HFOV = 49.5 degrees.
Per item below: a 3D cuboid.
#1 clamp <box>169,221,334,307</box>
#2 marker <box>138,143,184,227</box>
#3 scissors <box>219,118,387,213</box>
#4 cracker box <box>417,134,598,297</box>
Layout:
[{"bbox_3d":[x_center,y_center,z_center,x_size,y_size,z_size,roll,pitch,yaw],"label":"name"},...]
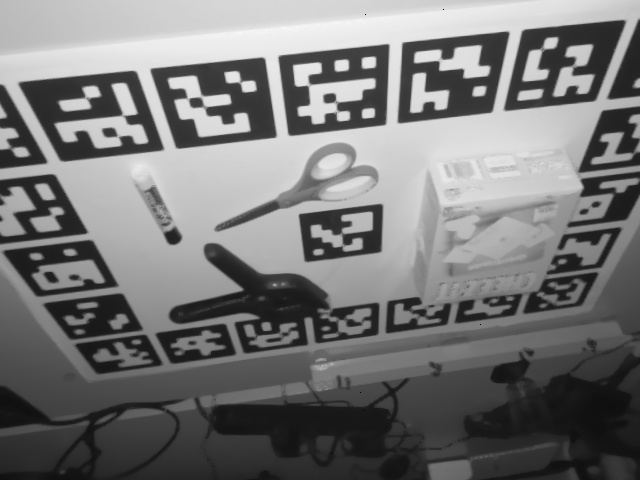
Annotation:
[{"bbox_3d":[-0.071,0.050,0.896,0.205,0.037,0.162,15,137,-27],"label":"clamp"},{"bbox_3d":[-0.167,-0.054,0.735,0.020,0.020,0.120,-9,143,-1],"label":"marker"},{"bbox_3d":[-0.025,-0.067,0.751,0.200,0.016,0.088,-23,141,20],"label":"scissors"},{"bbox_3d":[0.211,-0.022,0.819,0.165,0.072,0.211,-6,142,-5],"label":"cracker box"}]
